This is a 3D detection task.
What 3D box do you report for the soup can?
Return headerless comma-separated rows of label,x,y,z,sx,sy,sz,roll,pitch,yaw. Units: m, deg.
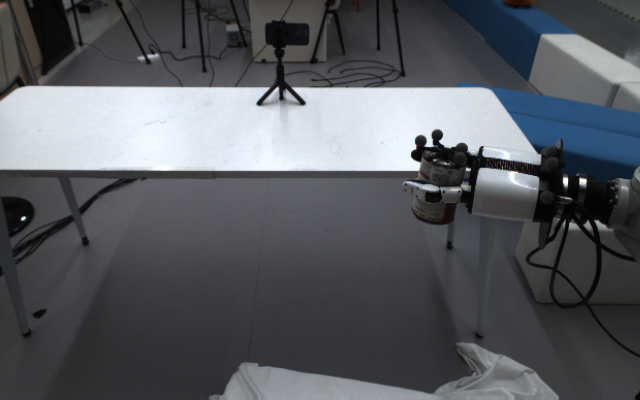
soup can,0.182,-0.023,0.742,0.067,0.101,0.067,4,30,-2
